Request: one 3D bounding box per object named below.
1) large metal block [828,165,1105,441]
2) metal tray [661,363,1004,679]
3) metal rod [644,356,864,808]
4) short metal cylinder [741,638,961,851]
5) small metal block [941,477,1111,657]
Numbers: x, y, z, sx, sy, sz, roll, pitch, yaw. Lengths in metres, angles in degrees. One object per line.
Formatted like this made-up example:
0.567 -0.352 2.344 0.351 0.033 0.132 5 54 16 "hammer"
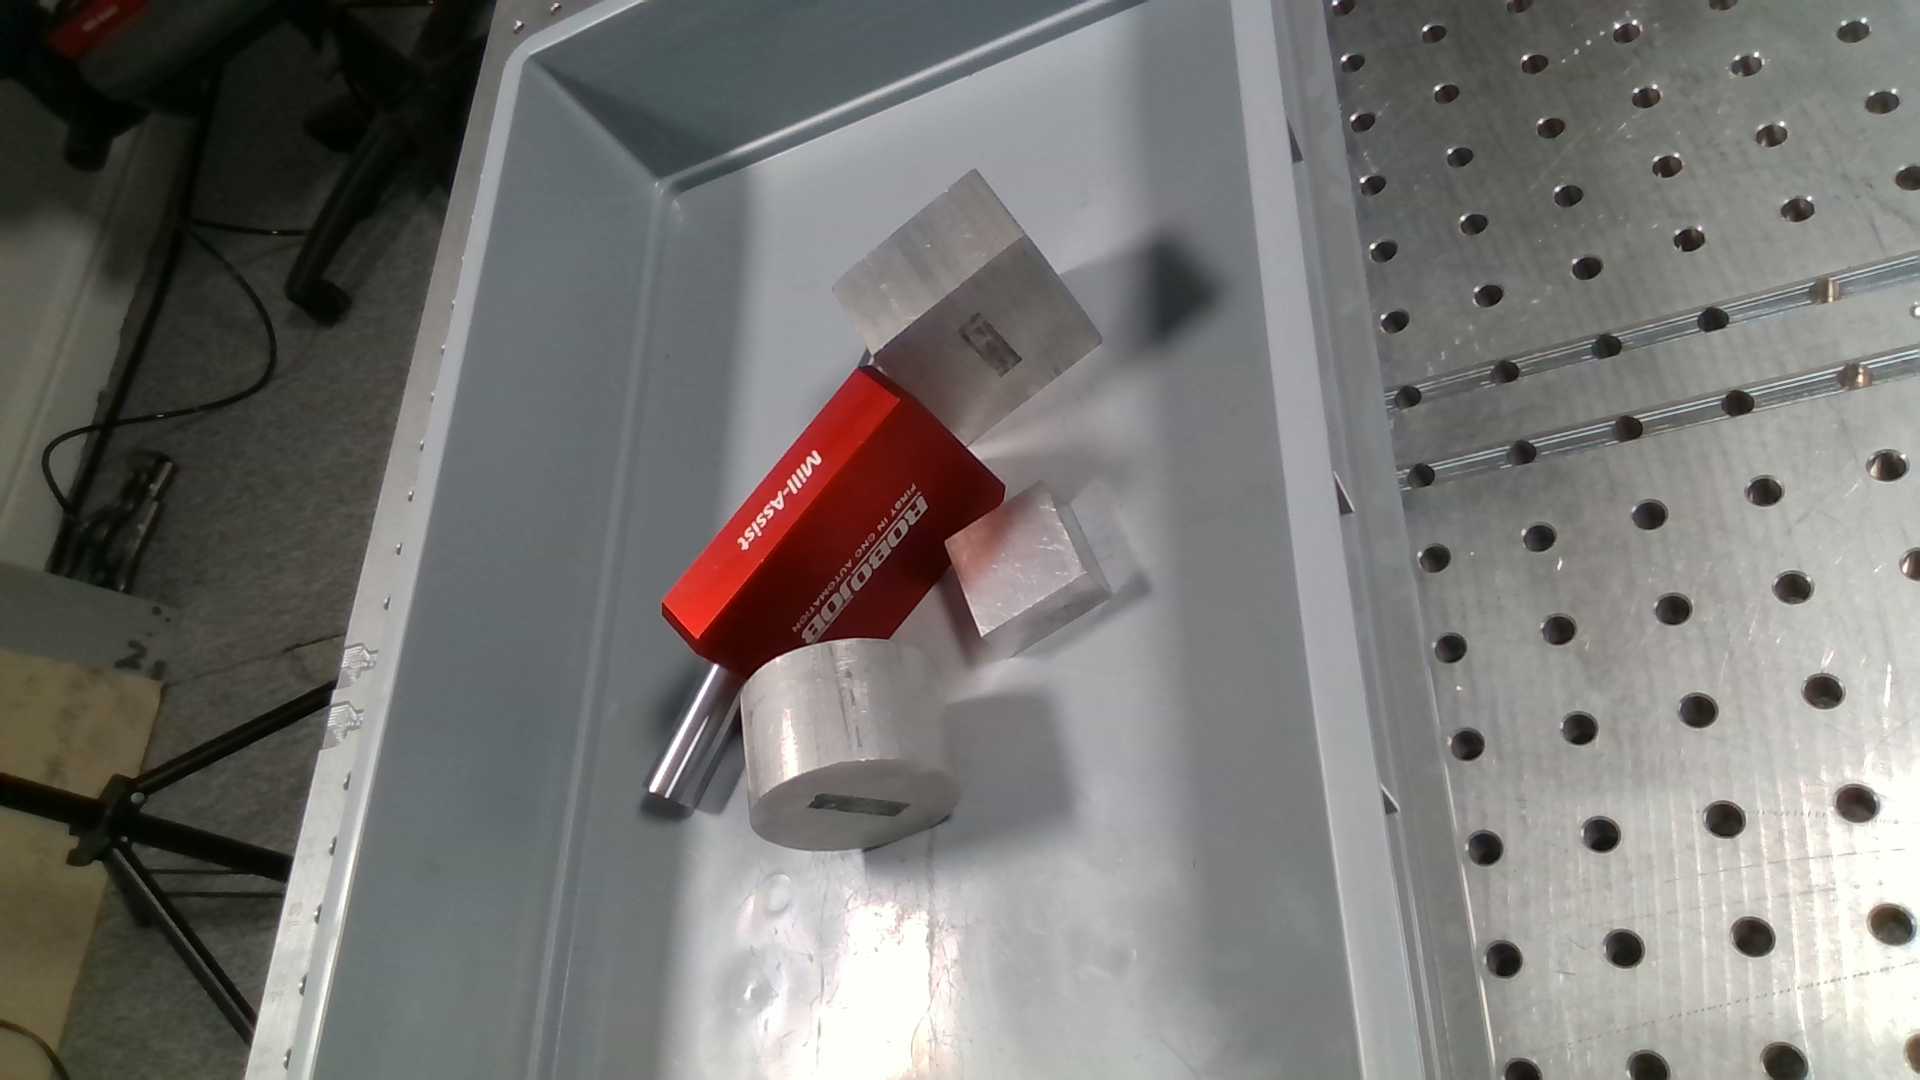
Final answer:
0.004 -0.099 0.599 0.080 0.080 0.050 -37 52 10 "large metal block"
-0.050 0.003 0.570 0.130 0.090 0.030 -50 51 -1 "metal tray"
-0.064 -0.020 0.634 0.025 0.025 0.300 17 75 37 "metal rod"
-0.043 0.080 0.532 0.080 0.080 0.050 -25 54 19 "short metal cylinder"
0.026 0.011 0.561 0.050 0.025 0.050 -32 53 14 "small metal block"
